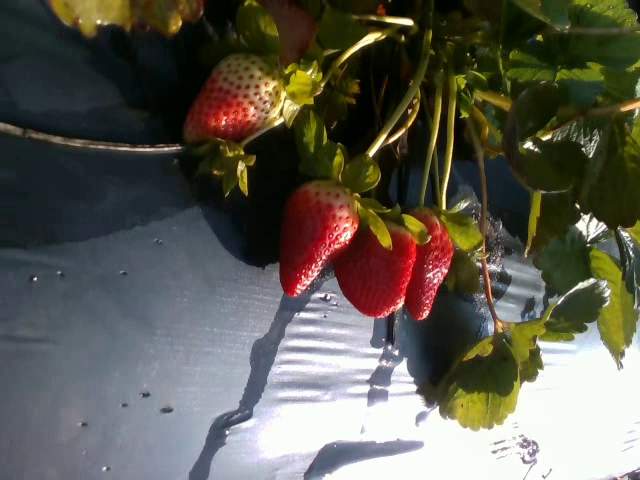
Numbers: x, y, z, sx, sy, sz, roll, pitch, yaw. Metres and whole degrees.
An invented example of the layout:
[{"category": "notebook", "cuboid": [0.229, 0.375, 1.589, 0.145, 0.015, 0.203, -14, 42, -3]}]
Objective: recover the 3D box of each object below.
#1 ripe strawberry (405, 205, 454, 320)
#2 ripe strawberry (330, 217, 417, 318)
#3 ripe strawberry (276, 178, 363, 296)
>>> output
[{"category": "ripe strawberry", "cuboid": [0.040, 0.016, 0.247, 0.035, 0.041, 0.034, 14, -24, -40]}, {"category": "ripe strawberry", "cuboid": [0.022, 0.011, 0.225, 0.037, 0.039, 0.031, -27, -37, 27]}, {"category": "ripe strawberry", "cuboid": [-0.002, 0.001, 0.211, 0.032, 0.045, 0.023, 19, 9, -42]}]
